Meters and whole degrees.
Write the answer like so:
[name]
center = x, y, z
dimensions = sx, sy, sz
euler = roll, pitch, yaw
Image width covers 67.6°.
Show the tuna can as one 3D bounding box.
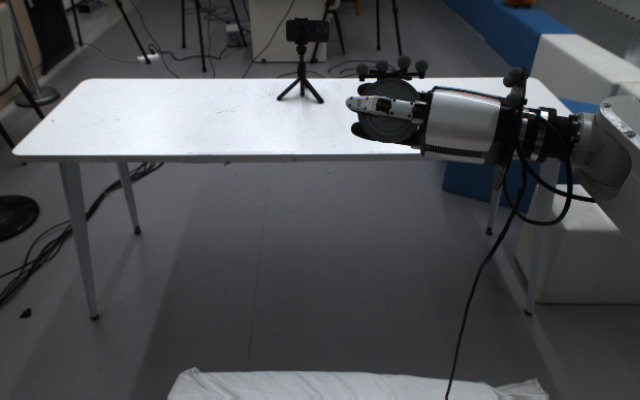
[tuna can]
center = 0.098, -0.116, 0.653
dimensions = 0.085, 0.085, 0.034
euler = 12, 8, 14
